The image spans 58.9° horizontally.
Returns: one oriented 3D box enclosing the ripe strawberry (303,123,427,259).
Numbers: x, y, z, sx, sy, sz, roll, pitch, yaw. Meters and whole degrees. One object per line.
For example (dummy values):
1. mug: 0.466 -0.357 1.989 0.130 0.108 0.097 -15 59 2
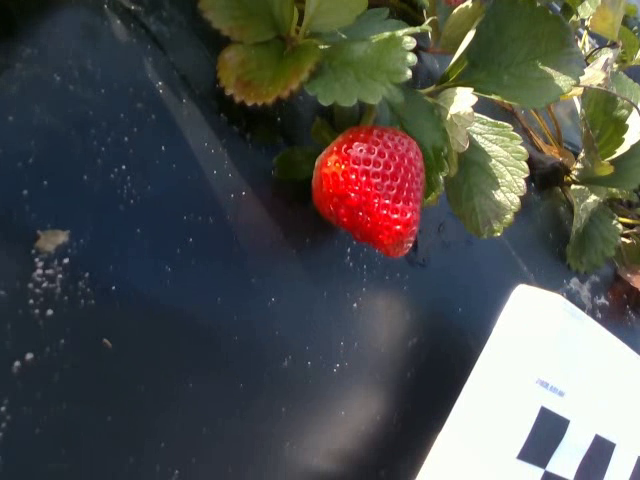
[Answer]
1. ripe strawberry: 0.018 -0.012 0.155 0.041 0.047 0.041 -2 -44 -20
